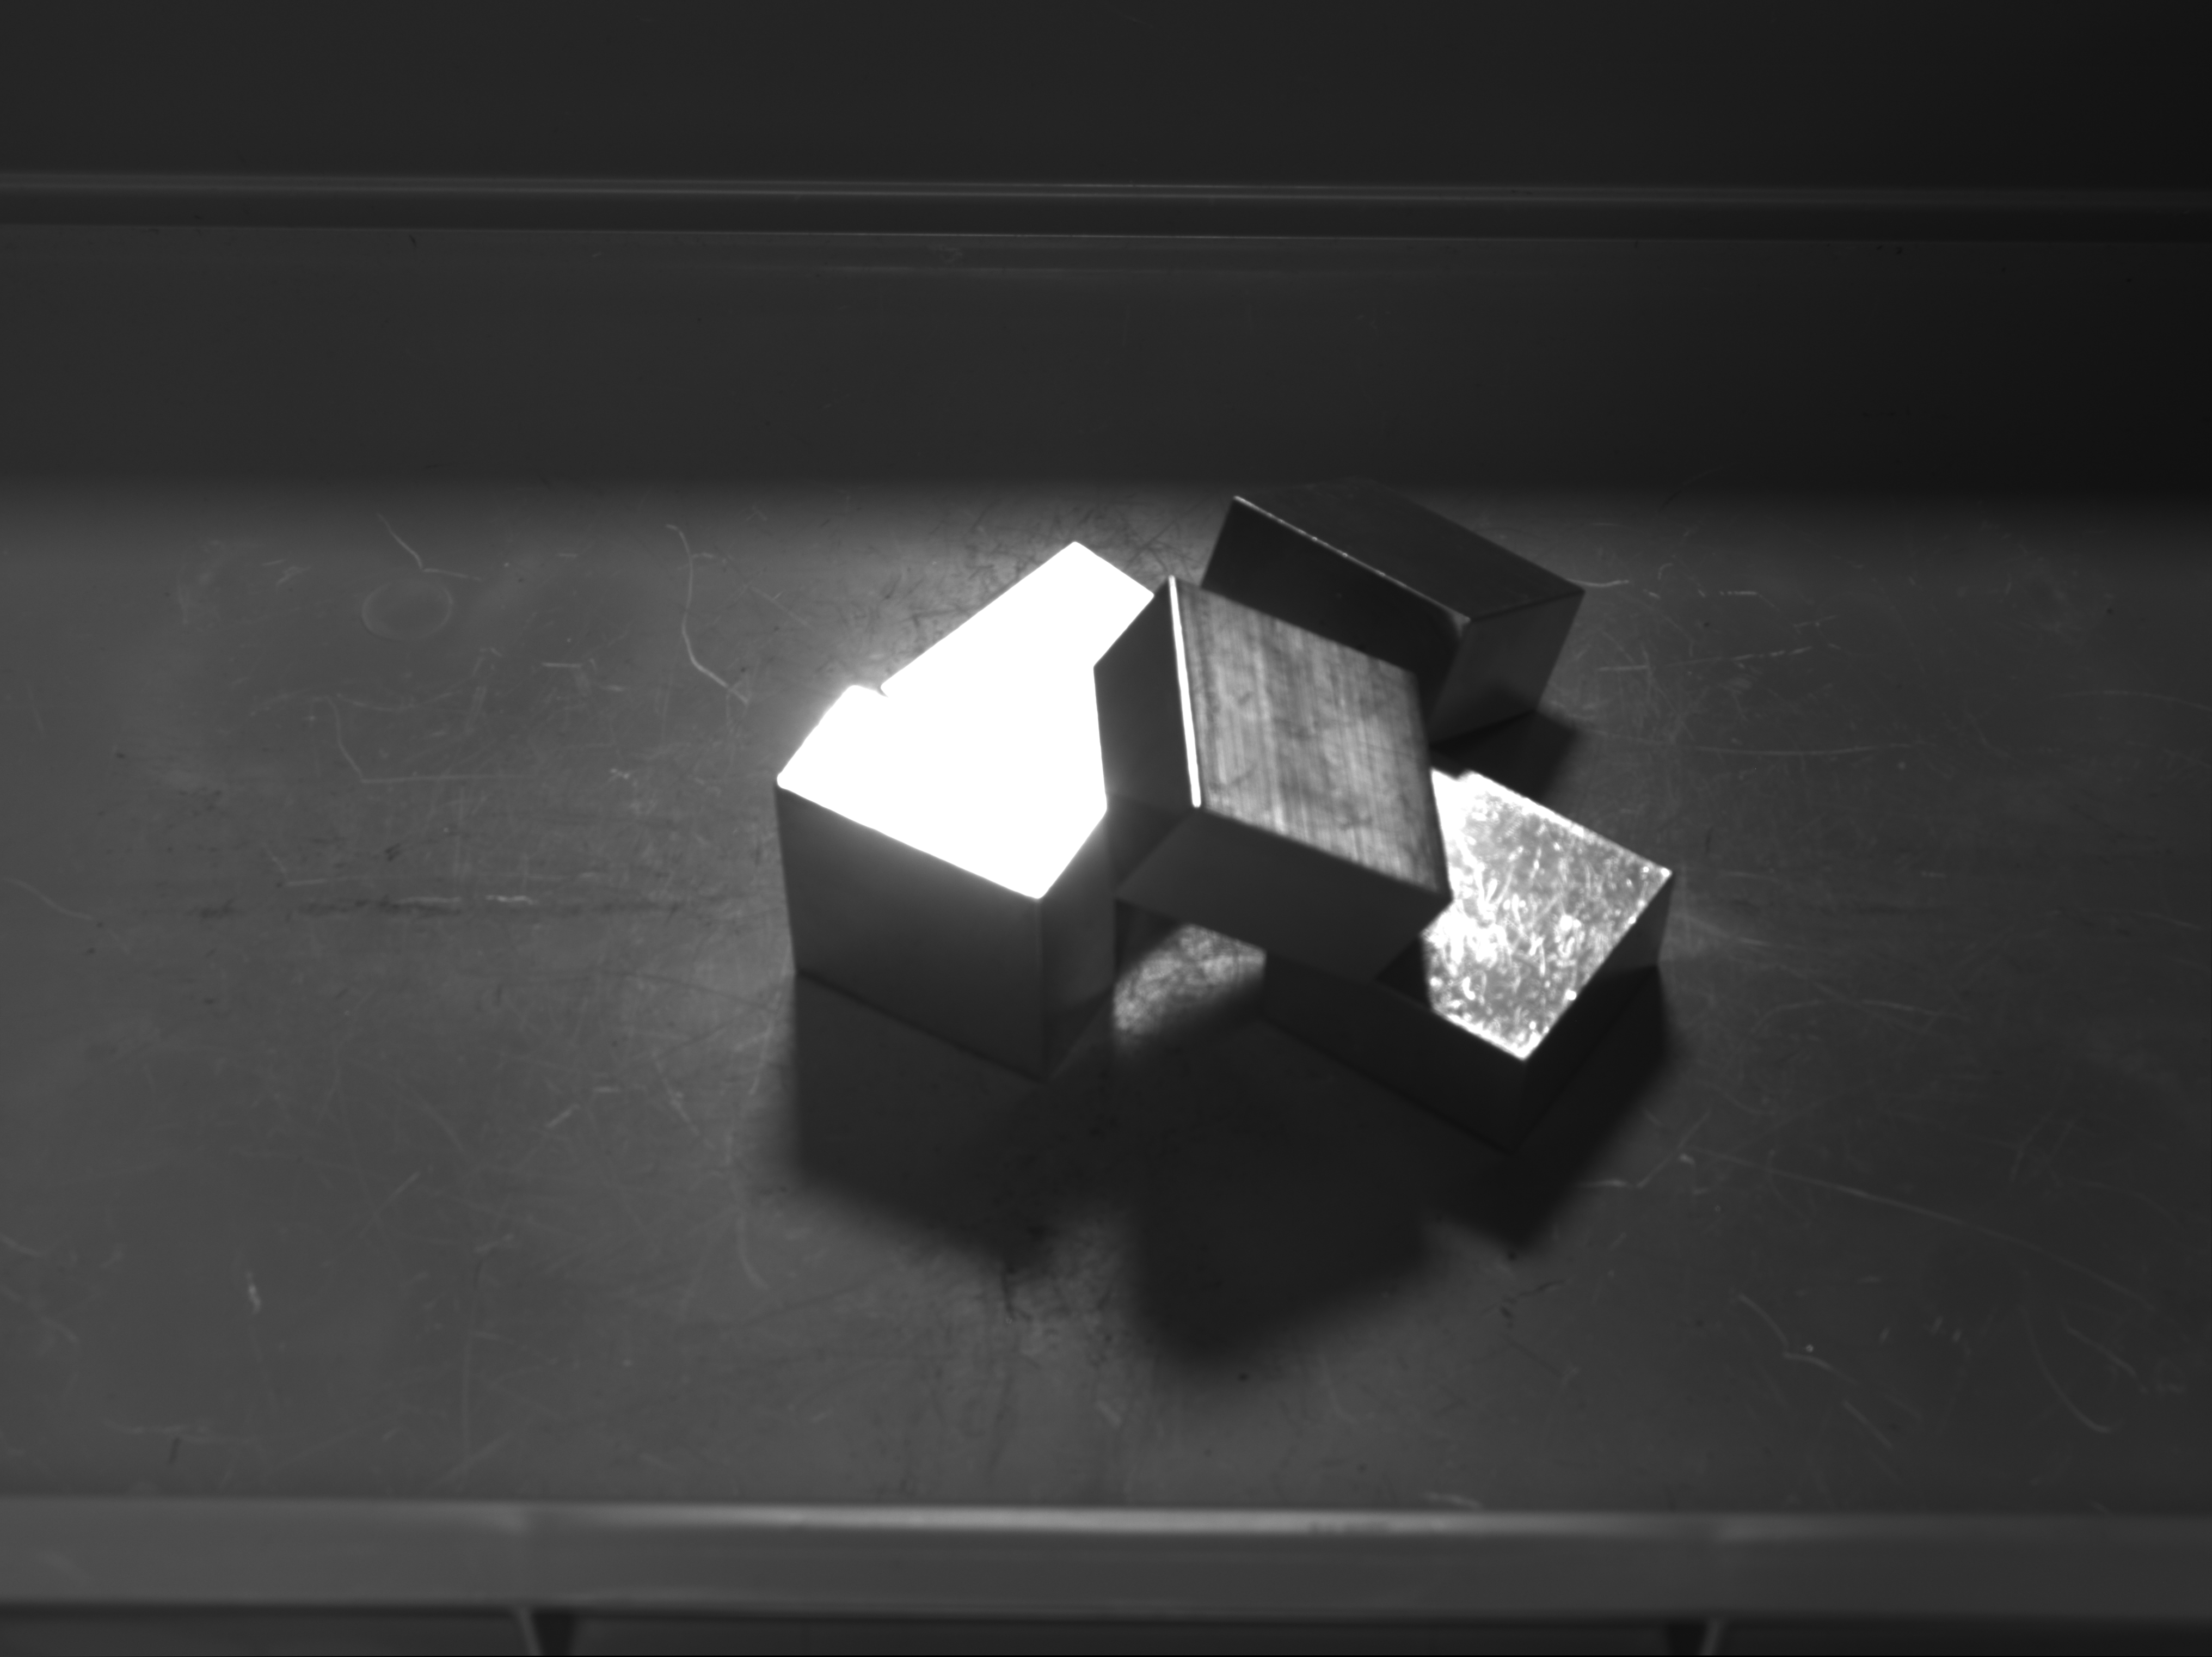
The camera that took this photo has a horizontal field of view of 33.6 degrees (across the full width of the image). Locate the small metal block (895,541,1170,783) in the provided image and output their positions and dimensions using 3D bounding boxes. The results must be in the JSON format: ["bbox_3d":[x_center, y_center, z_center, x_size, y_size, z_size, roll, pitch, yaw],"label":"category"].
[{"bbox_3d":[-0.002,-0.017,0.654,0.050,0.025,0.050,36,59,26],"label":"small metal block"}]

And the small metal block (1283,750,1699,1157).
[{"bbox_3d":[0.065,0.020,0.623,0.050,0.025,0.050,28,55,22],"label":"small metal block"}]

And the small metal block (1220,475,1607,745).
[{"bbox_3d":[0.054,-0.040,0.660,0.050,0.025,0.050,30,23,23],"label":"small metal block"}]

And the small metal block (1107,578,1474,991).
[{"bbox_3d":[0.030,-0.007,0.599,0.050,0.025,0.050,20,44,-26],"label":"small metal block"}]

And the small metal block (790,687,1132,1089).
[{"bbox_3d":[-0.023,0.010,0.615,0.050,0.050,0.025,23,54,19],"label":"small metal block"}]
